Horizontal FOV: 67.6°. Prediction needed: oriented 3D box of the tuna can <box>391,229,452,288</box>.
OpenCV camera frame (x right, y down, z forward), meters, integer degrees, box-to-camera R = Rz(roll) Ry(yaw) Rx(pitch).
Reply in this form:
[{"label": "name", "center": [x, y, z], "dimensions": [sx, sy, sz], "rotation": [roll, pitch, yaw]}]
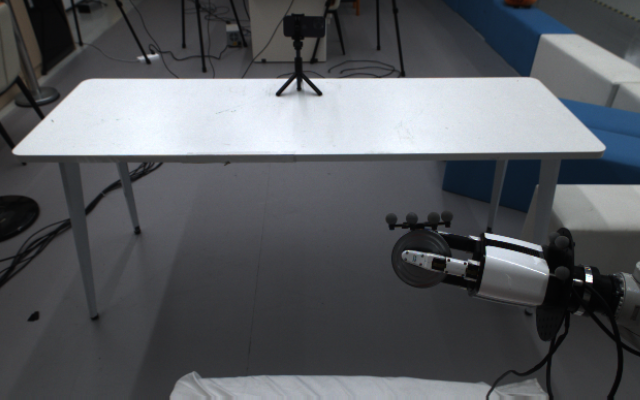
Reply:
[{"label": "tuna can", "center": [0.150, 0.083, 0.708], "dimensions": [0.085, 0.085, 0.034], "rotation": [11, 2, 12]}]
